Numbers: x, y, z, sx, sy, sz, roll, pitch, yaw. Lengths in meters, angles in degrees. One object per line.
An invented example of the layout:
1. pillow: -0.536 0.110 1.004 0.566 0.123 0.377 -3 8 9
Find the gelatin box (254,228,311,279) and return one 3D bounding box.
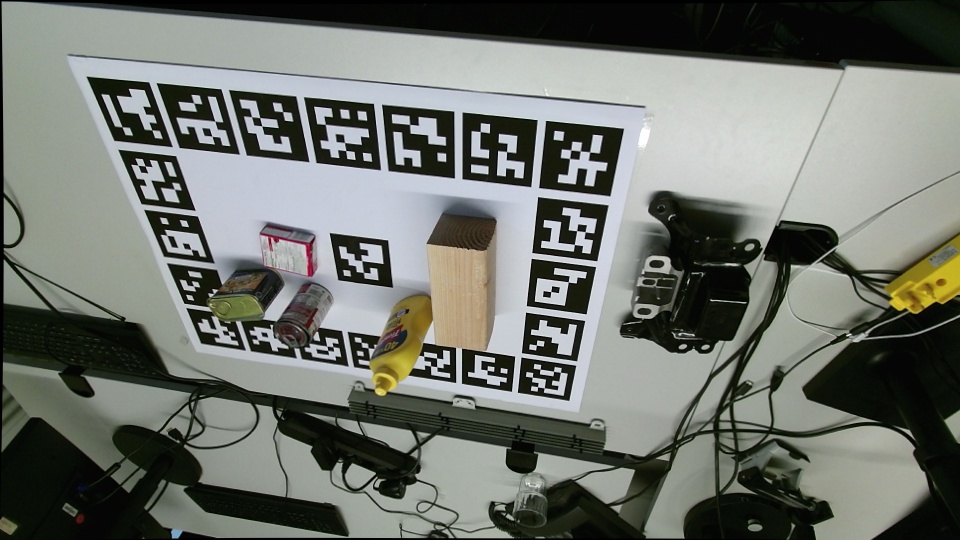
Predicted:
1. gelatin box: -0.335 -0.026 0.909 0.090 0.030 0.073 14 125 -1

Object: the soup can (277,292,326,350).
1. soup can: -0.323 0.094 0.944 0.068 0.101 0.068 5 125 8

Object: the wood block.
1. wood block: -0.030 0.028 0.851 0.091 0.089 0.206 8 131 8

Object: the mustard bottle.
1. mustard bottle: -0.137 0.128 0.890 0.096 0.191 0.058 -15 122 23

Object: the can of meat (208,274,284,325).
1. can of meat: -0.416 0.054 0.958 0.102 0.083 0.058 -4 124 18
